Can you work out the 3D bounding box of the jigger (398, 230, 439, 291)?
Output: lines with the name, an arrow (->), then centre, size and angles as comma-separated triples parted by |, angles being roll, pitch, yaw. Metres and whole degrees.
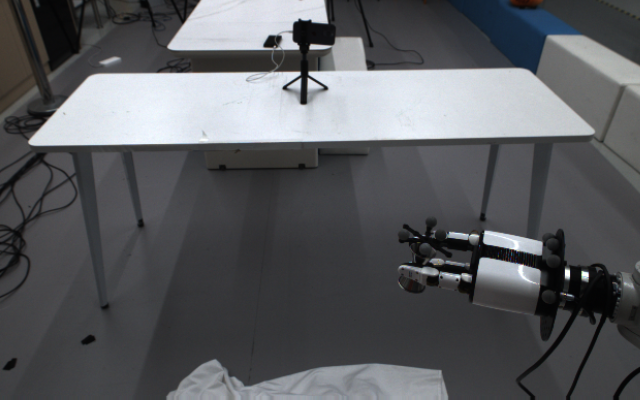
jigger -> 0.148, 0.101, 0.743 | 0.043, 0.071, 0.043 | 9, 30, -6
